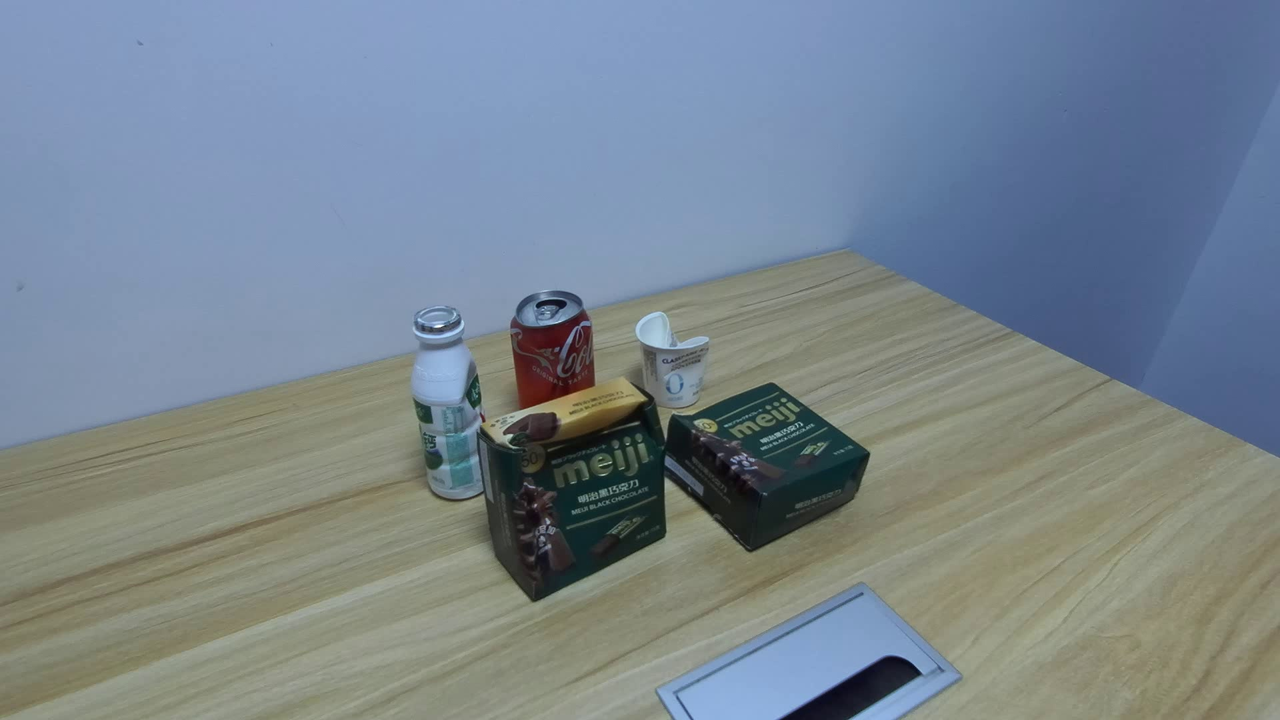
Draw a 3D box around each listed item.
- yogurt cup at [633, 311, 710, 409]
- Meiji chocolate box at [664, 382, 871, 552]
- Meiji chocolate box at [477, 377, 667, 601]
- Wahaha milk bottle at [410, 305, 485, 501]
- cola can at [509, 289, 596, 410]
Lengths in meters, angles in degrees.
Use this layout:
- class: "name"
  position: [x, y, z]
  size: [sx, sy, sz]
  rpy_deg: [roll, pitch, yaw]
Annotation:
- class: "yogurt cup"
  position: [0.028, 0.004, 0.641]
  size: [0.067, 0.070, 0.067]
  rpy_deg: [2, 31, -1]
- class: "Meiji chocolate box"
  position: [0.095, 0.076, 0.541]
  size: [0.116, 0.058, 0.122]
  rpy_deg: [-16, 35, -30]
- class: "Meiji chocolate box"
  position: [-0.041, 0.081, 0.475]
  size: [0.118, 0.117, 0.051]
  rpy_deg: [-18, 28, -28]
- class: "Wahaha milk bottle"
  position: [-0.138, 0.033, 0.518]
  size: [0.056, 0.148, 0.056]
  rpy_deg: [1, 29, 0]
- class: "cola can"
  position: [-0.068, 0.005, 0.591]
  size: [0.066, 0.117, 0.072]
  rpy_deg: [-21, 36, -33]
